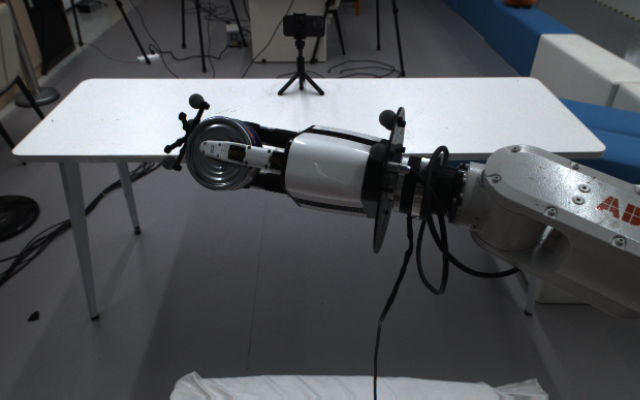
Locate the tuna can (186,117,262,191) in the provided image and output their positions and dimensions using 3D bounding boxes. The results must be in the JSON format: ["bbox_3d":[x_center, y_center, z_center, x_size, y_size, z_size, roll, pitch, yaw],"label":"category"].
[{"bbox_3d":[-0.108,-0.049,0.559,0.085,0.085,0.034,9,5,10],"label":"tuna can"}]
